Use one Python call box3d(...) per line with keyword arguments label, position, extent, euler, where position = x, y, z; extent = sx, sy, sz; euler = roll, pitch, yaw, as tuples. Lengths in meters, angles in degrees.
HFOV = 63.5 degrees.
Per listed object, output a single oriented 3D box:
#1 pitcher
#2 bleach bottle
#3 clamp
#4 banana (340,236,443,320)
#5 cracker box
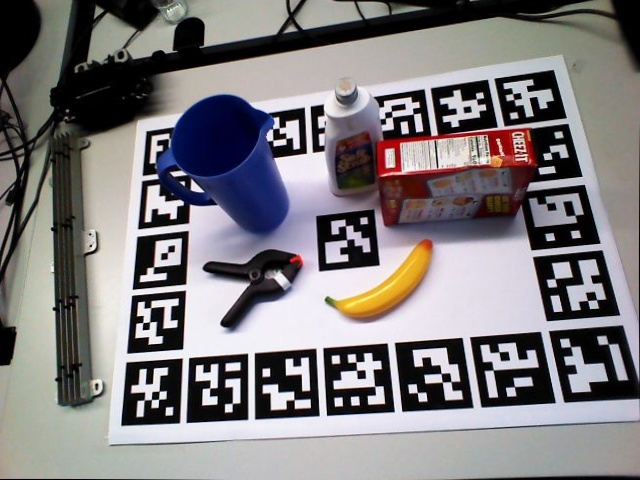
box3d(label="pitcher", position=(-0.130, -0.099, 0.801), extent=(0.189, 0.243, 0.133), euler=(-23, 64, -2))
box3d(label="bleach bottle", position=(0.056, -0.151, 0.805), extent=(0.103, 0.251, 0.067), euler=(-7, 65, 9))
box3d(label="clamp", position=(-0.090, 0.069, 0.858), extent=(0.165, 0.036, 0.121), euler=(-21, 63, 0))
box3d(label="banana", position=(0.129, 0.067, 0.822), extent=(0.197, 0.039, 0.074), euler=(-38, 65, -5))
box3d(label="cracker box", position=(0.217, -0.090, 0.777), extent=(0.214, 0.164, 0.071), euler=(-6, 63, 11))
